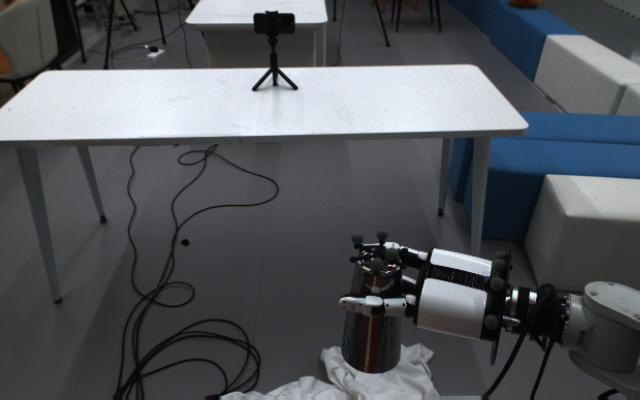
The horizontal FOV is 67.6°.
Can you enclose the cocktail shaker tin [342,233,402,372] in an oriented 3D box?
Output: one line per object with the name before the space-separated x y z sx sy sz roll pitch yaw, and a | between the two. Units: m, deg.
cocktail shaker tin | 0.083 0.157 0.720 0.093 0.170 0.093 1 26 -1
